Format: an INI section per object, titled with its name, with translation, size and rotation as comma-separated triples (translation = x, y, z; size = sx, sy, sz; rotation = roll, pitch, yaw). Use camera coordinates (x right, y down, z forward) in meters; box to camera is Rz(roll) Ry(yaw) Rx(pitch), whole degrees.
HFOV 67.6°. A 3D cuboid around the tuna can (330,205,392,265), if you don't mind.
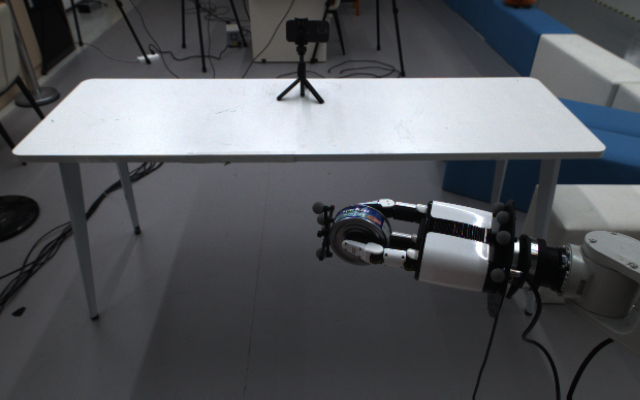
[tuna can]
translation = 0.059, 0.052, 0.683
size = 0.085, 0.085, 0.034
rotation = 9, 32, 10
